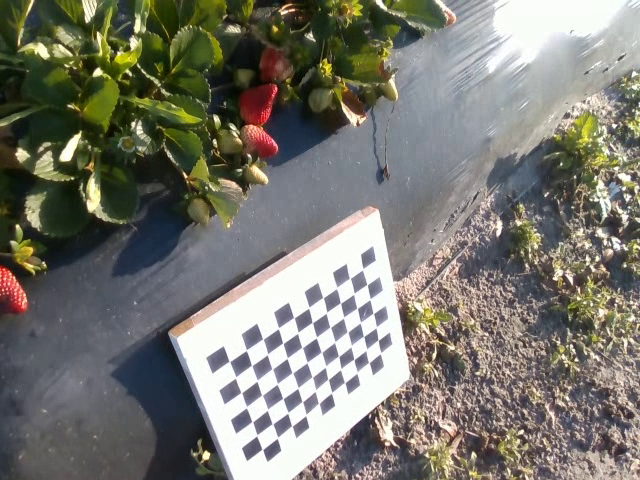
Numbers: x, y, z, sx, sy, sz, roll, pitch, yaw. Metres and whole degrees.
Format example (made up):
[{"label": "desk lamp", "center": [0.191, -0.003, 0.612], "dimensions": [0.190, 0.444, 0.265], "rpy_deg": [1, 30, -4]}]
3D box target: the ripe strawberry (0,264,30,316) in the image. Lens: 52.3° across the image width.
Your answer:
[{"label": "ripe strawberry", "center": [-0.278, 0.050, 0.566], "dimensions": [0.051, 0.052, 0.041], "rpy_deg": [28, -12, 15]}]
